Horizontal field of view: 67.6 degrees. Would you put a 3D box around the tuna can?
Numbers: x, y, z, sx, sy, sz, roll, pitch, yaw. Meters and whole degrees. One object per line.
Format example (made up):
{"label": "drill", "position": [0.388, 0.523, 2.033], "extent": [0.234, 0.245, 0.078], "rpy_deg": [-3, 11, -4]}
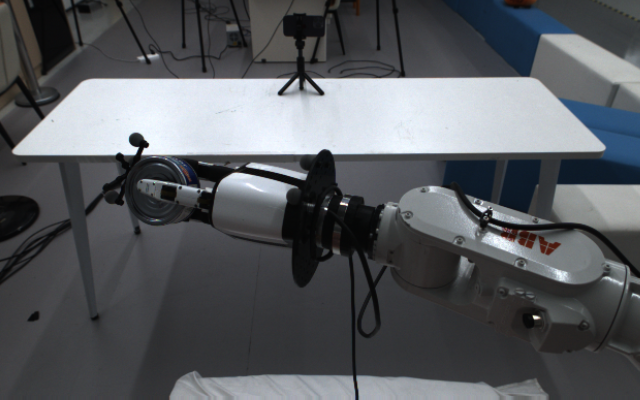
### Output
{"label": "tuna can", "position": [-0.189, -0.008, 0.588], "extent": [0.085, 0.085, 0.034], "rpy_deg": [9, 6, 10]}
